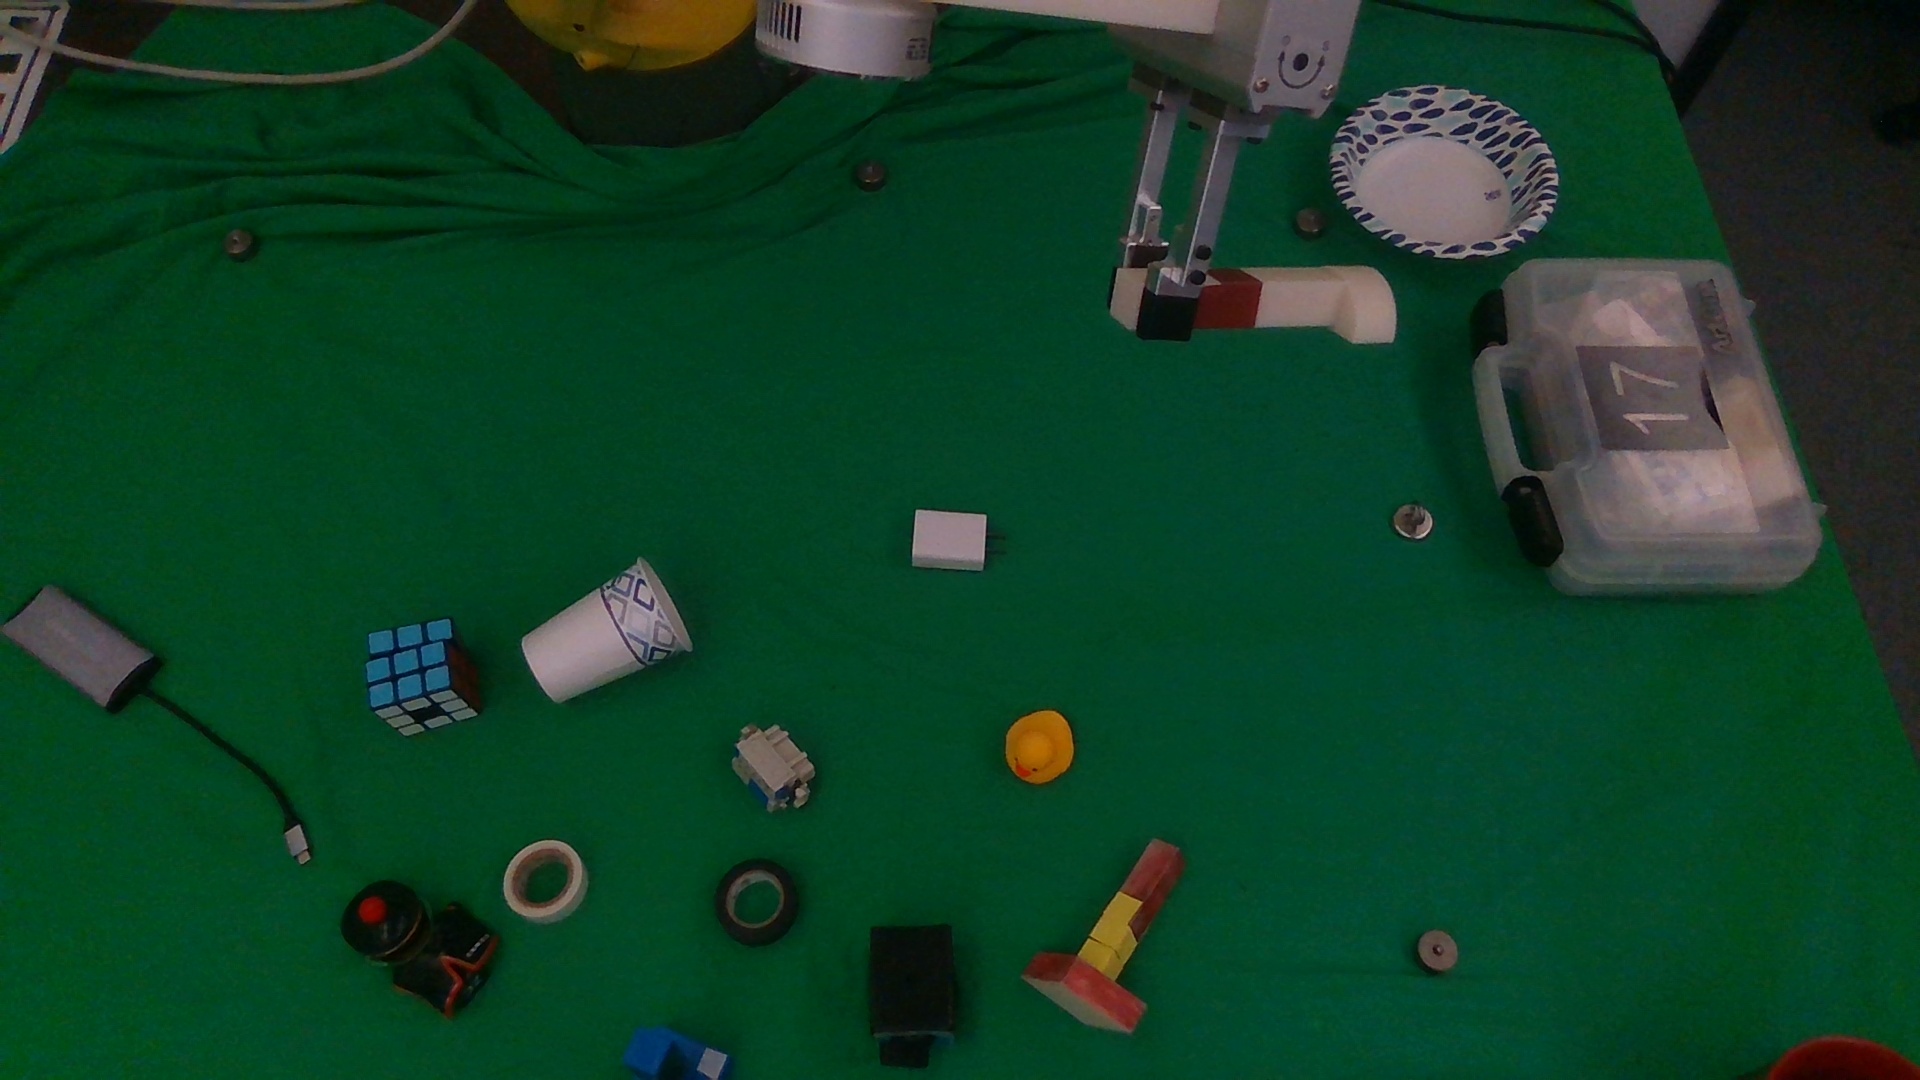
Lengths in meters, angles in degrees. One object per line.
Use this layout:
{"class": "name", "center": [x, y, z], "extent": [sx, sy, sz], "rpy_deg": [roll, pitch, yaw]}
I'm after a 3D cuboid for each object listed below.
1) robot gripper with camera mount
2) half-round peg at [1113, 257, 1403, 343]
{"class": "robot gripper with camera mount", "center": [0.008, -0.157, 0.508], "extent": [0.193, 0.158, 0.119], "rpy_deg": [-5, 29, -22]}
{"class": "half-round peg", "center": [0.125, -0.103, 0.591], "extent": [0.121, 0.031, 0.054], "rpy_deg": [-4, 28, -19]}
